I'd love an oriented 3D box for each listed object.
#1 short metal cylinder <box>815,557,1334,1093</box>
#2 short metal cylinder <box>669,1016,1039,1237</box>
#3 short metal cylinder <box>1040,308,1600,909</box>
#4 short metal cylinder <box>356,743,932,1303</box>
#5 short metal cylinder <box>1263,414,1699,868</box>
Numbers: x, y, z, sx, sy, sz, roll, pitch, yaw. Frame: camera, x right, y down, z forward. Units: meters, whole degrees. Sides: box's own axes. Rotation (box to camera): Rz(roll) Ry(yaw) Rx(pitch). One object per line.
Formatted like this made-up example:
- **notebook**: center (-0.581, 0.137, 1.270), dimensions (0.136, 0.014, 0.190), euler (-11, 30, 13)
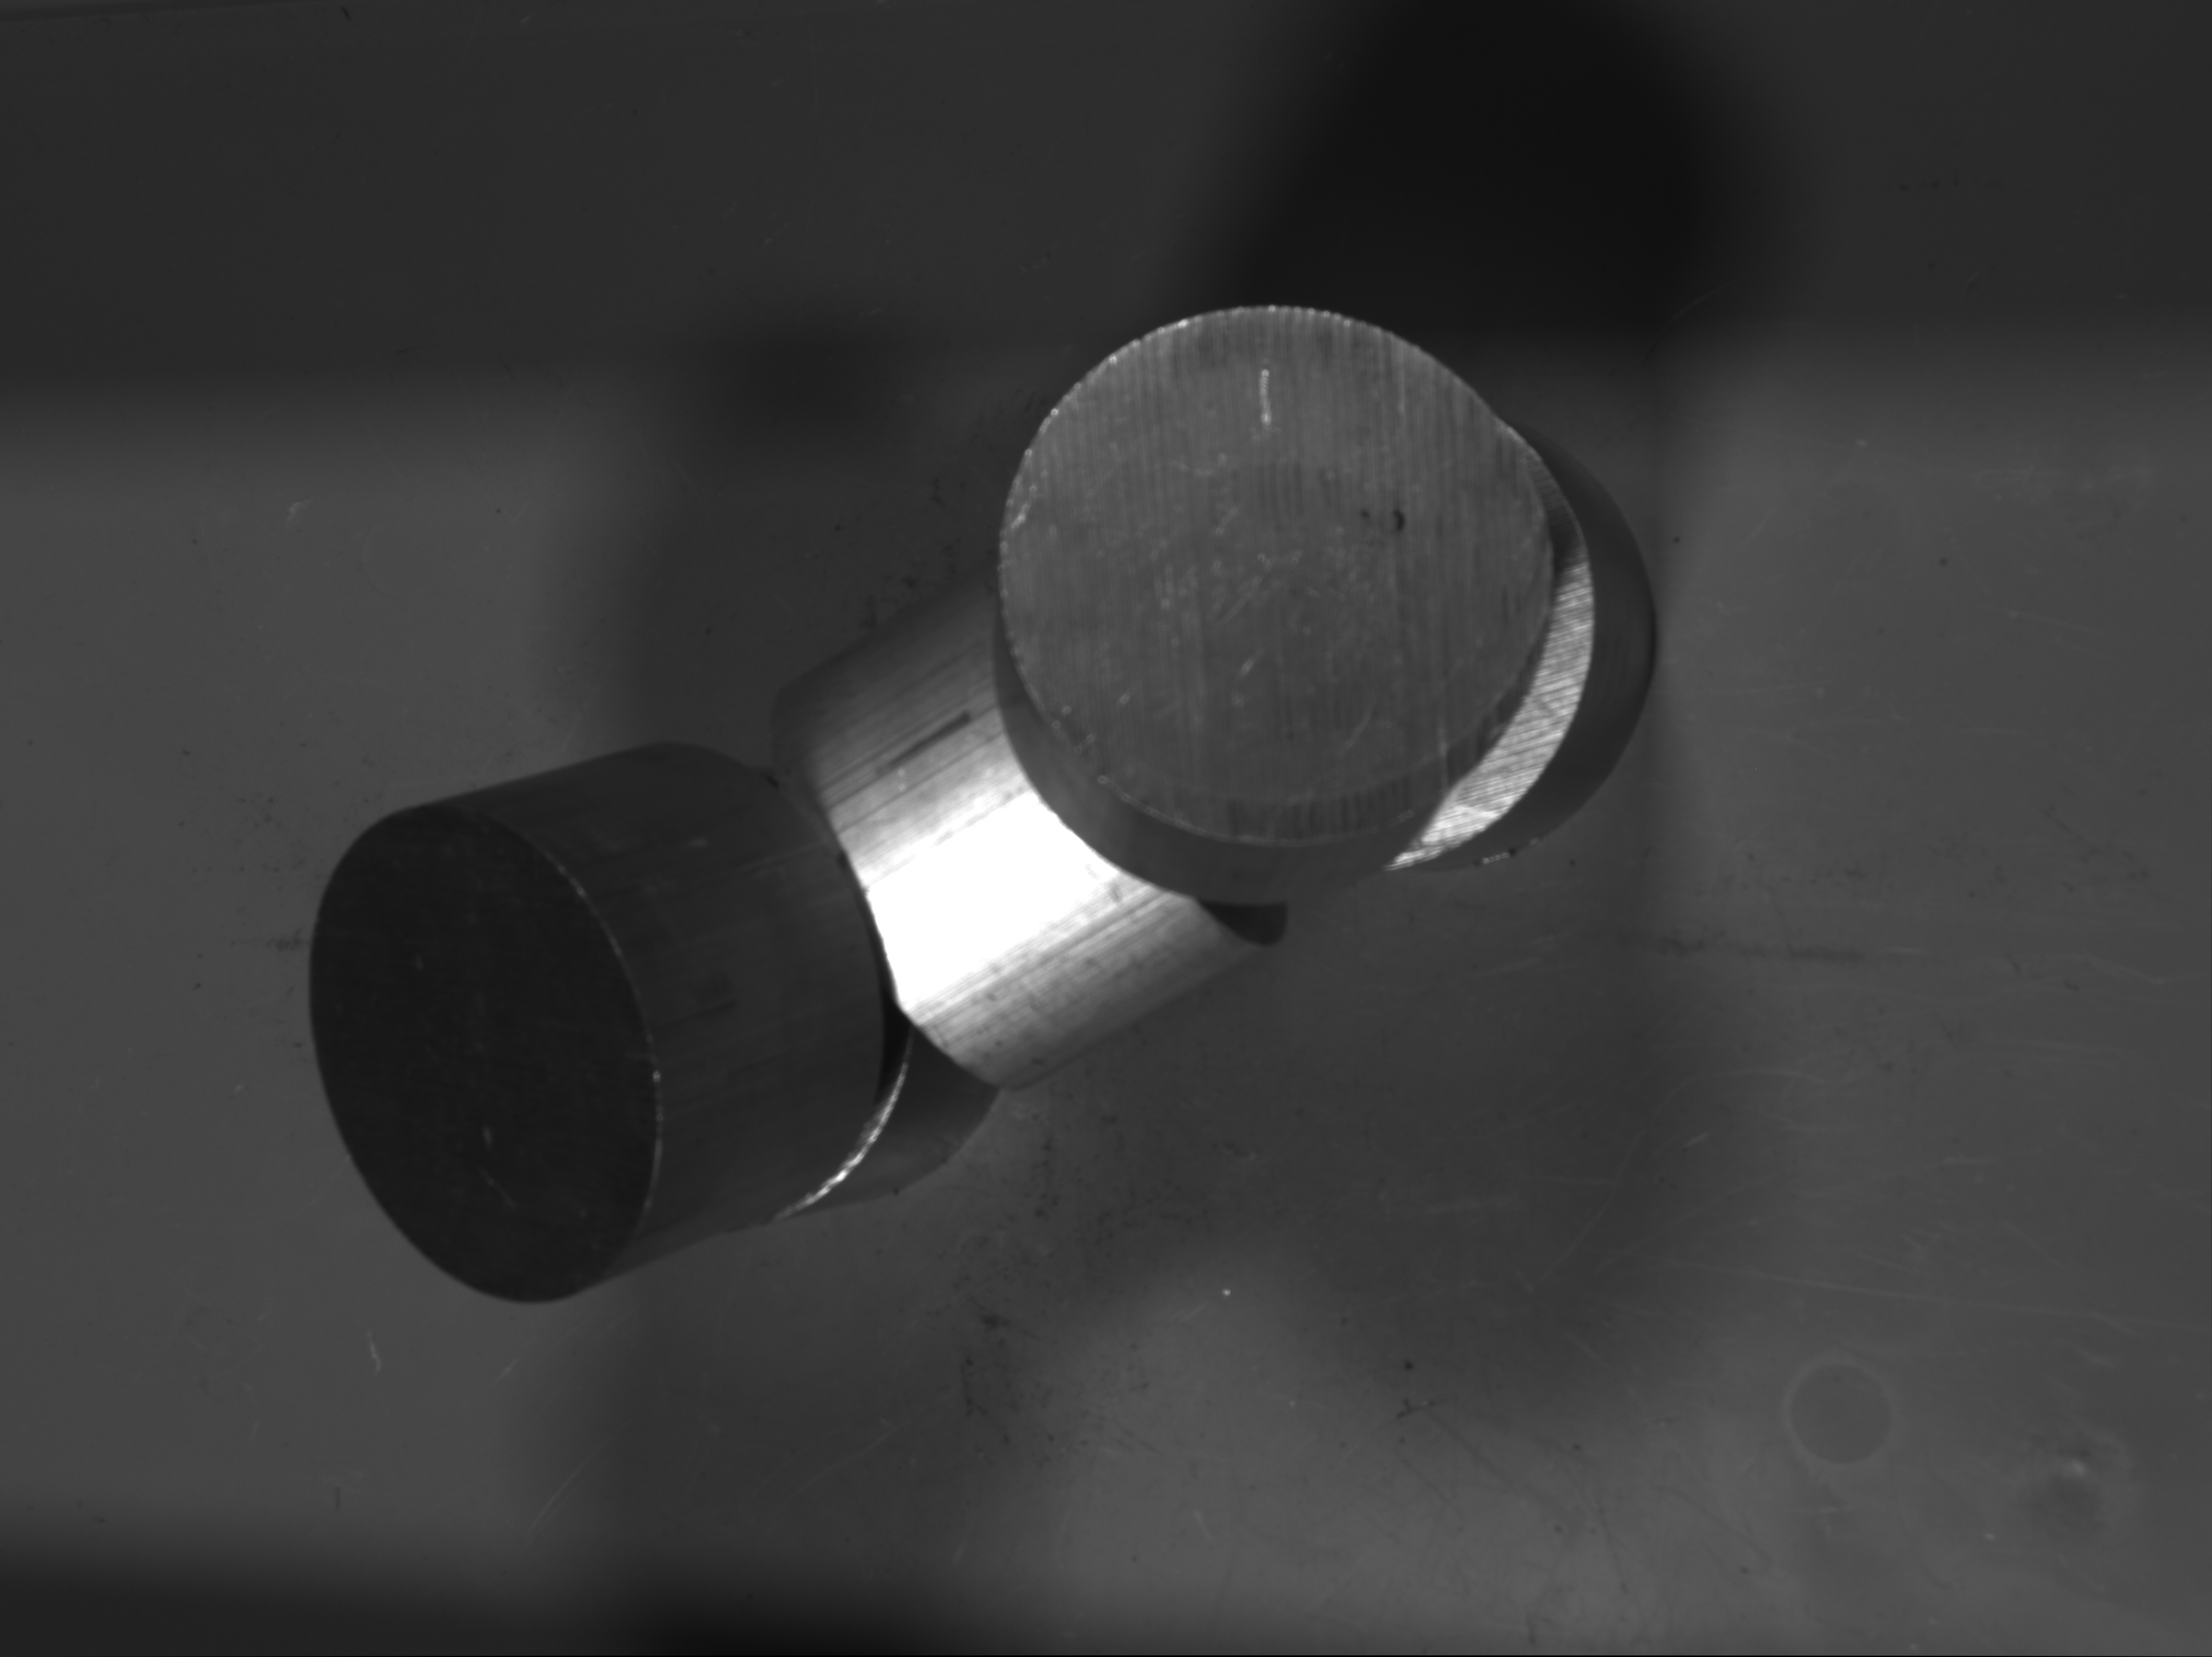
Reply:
- **short metal cylinder**: center (-0.005, -0.003, 0.615), dimensions (0.050, 0.080, 0.080), euler (-31, 80, 17)
- **short metal cylinder**: center (-0.053, 0.030, 0.649), dimensions (0.080, 0.050, 0.080), euler (0, 90, 20)
- **short metal cylinder**: center (0.030, -0.032, 0.550), dimensions (0.080, 0.050, 0.080), euler (0, 78, -2)
- **short metal cylinder**: center (-0.075, 0.030, 0.588), dimensions (0.080, 0.050, 0.080), euler (12, 110, 37)
- **short metal cylinder**: center (0.054, -0.033, 0.610), dimensions (0.080, 0.050, 0.080), euler (0, 90, 20)
